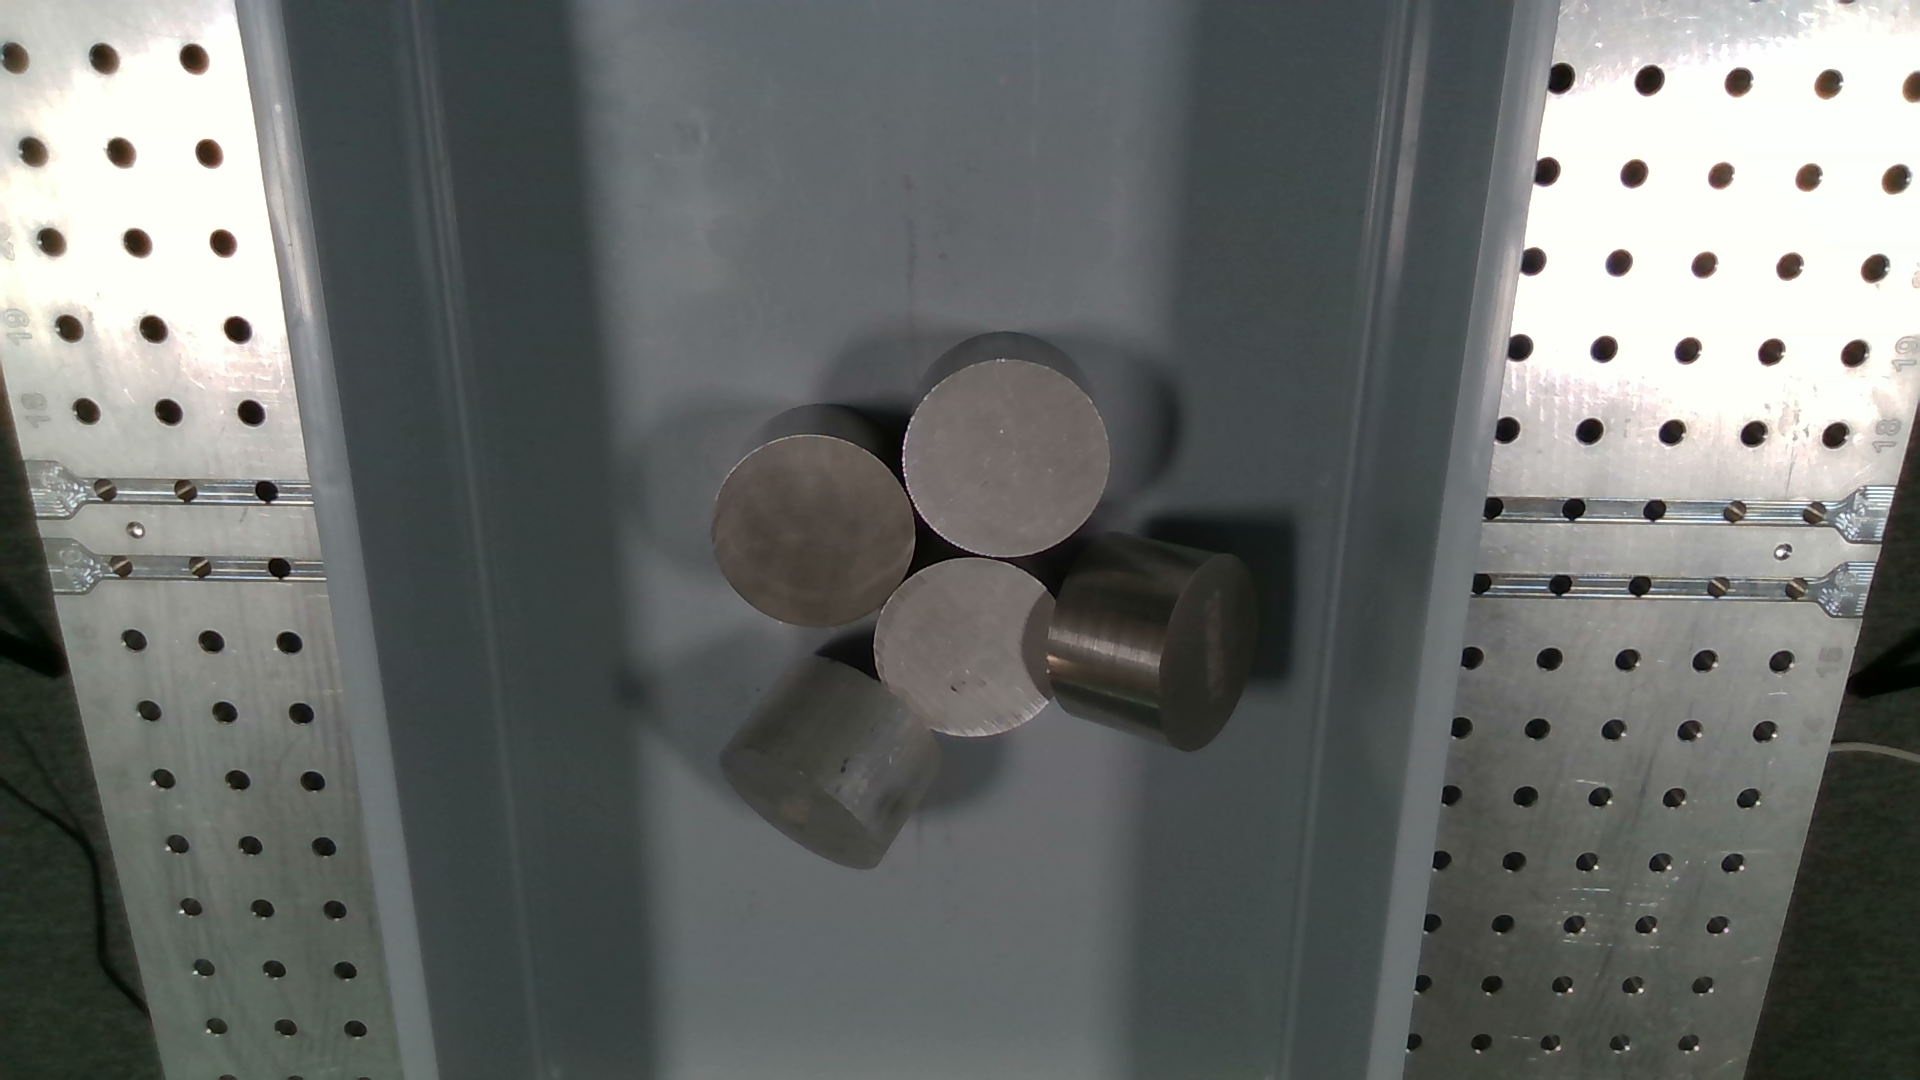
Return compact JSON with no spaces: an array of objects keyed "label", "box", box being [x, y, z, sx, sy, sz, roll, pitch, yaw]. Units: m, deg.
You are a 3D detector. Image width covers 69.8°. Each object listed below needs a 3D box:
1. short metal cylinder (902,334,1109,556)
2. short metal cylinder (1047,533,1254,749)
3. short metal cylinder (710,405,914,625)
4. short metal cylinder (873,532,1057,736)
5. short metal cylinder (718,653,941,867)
[{"label":"short metal cylinder","box":[0.018,-0.040,0.555,0.080,0.050,0.080,0,110,0]},{"label":"short metal cylinder","box":[0.079,0.040,0.561,0.050,0.080,0.080,13,115,37]},{"label":"short metal cylinder","box":[-0.058,-0.012,0.565,0.080,0.050,0.080,0,110,0]},{"label":"short metal cylinder","box":[0.005,0.035,0.583,0.080,0.050,0.080,0,110,0]},{"label":"short metal cylinder","box":[-0.055,0.093,0.583,0.080,0.050,0.080,25,148,17]}]
